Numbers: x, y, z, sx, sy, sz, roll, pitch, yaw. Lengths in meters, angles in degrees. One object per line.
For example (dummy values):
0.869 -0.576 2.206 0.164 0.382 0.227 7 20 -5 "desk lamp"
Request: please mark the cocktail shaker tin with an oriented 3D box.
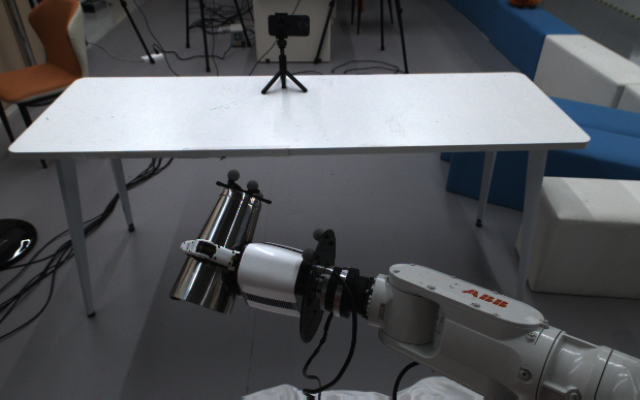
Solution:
-0.145 0.075 0.712 0.093 0.093 0.170 14 73 16 "cocktail shaker tin"
